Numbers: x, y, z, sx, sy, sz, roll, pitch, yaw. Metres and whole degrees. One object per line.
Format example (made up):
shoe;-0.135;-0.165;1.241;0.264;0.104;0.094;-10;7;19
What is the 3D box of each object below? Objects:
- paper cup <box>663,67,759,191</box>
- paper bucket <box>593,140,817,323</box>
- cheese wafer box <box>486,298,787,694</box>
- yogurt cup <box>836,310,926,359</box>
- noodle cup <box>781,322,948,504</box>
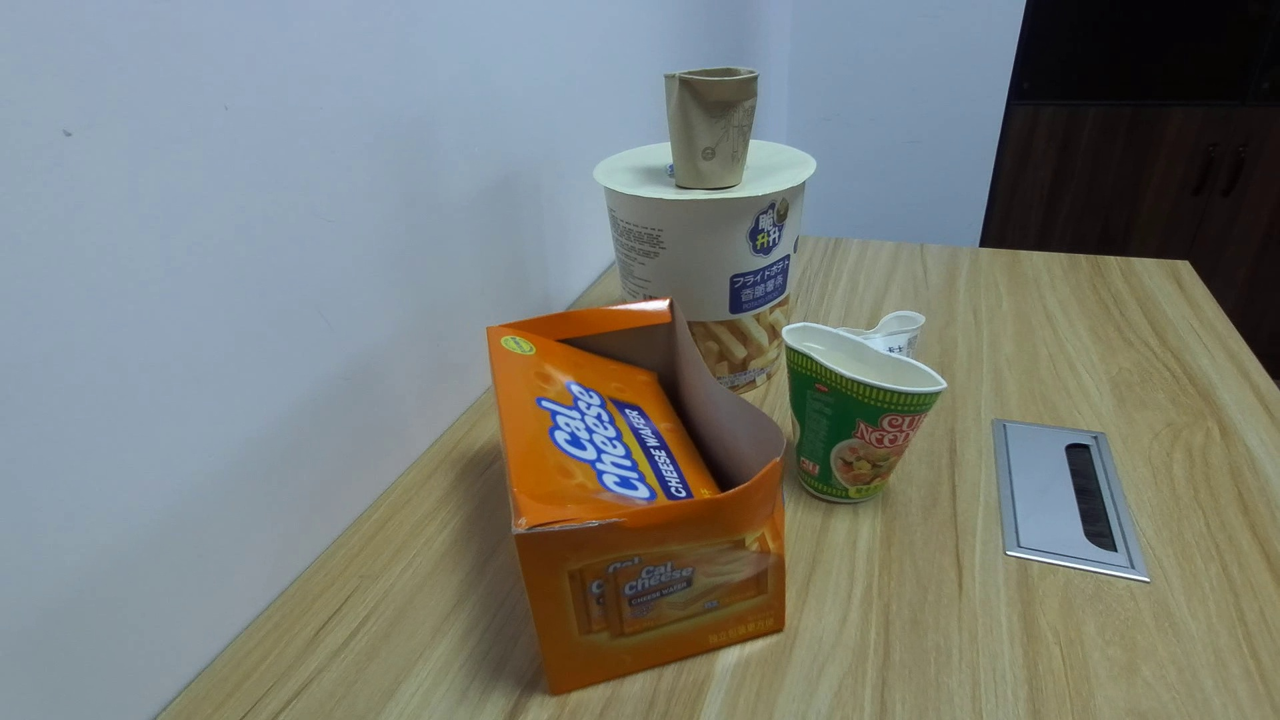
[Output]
paper cup;0.054;-0.179;0.546;0.066;0.084;0.071;-8;25;-9
paper bucket;0.058;-0.083;0.649;0.198;0.195;0.198;-2;30;2
cheese wafer box;-0.010;0.072;0.463;0.152;0.132;0.229;-9;29;-12
yogurt cup;0.205;-0.002;0.616;0.075;0.071;0.053;-30;41;-33
noodle cup;0.149;0.039;0.508;0.070;0.111;0.114;-14;32;-14
